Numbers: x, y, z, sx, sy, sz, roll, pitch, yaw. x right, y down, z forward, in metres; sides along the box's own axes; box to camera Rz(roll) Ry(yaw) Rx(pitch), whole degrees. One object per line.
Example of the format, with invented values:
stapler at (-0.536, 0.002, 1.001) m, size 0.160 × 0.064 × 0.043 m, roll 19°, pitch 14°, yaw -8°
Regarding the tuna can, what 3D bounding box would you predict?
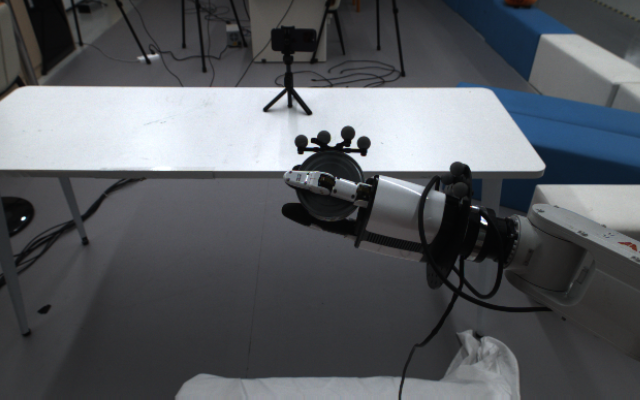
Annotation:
tuna can at (0.013, -0.018, 0.606) m, size 0.085 × 0.034 × 0.085 m, roll -1°, pitch 76°, yaw 4°
